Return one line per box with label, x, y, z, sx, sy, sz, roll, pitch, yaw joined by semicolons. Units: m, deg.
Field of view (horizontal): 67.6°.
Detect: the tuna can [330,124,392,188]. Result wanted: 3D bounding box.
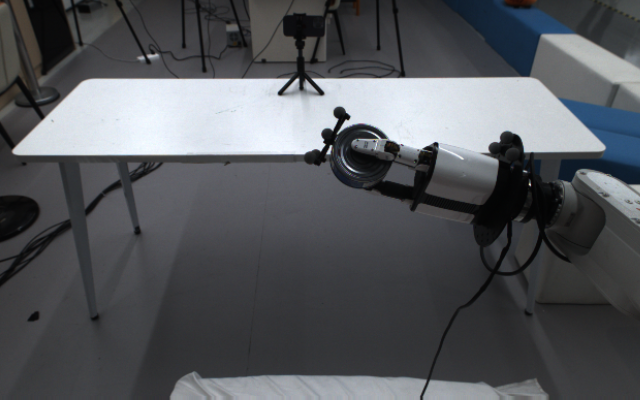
tuna can;0.059;-0.062;0.669;0.085;0.034;0.085;1;75;-5
